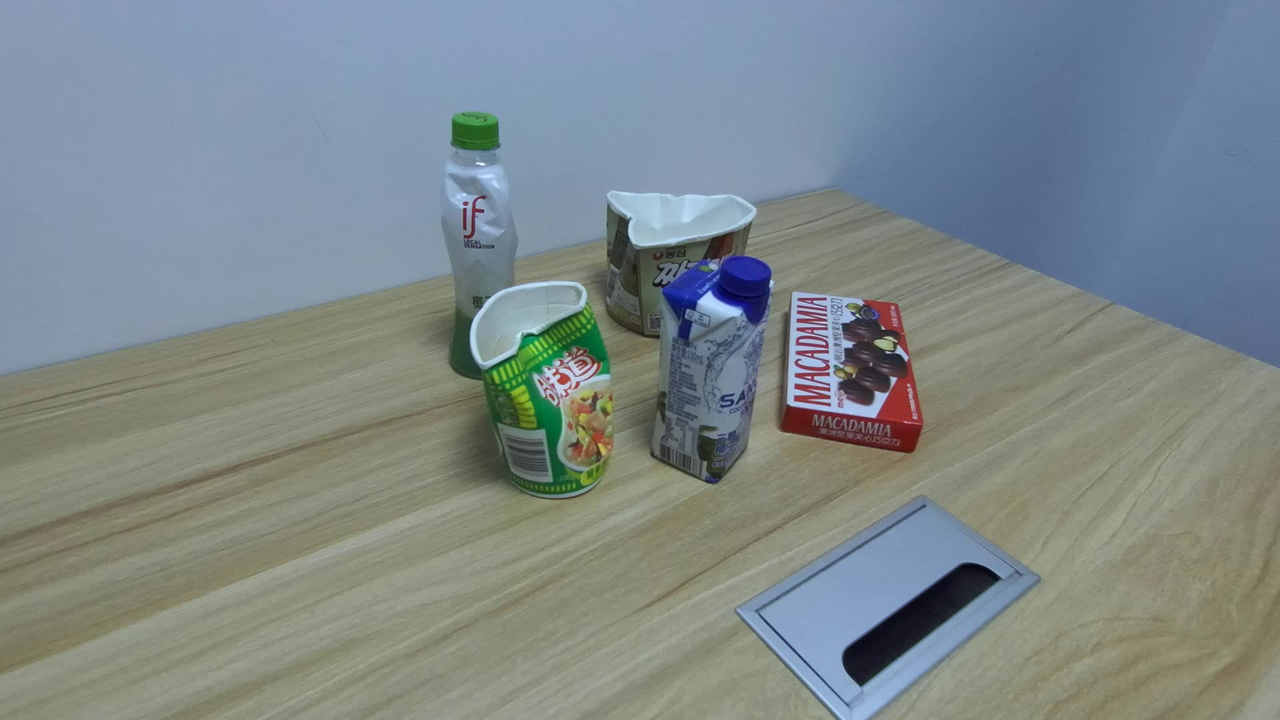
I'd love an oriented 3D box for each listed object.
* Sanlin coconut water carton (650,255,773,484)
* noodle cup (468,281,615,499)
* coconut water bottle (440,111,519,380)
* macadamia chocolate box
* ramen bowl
[{"bbox_3d":[0.044,0.003,0.438,0.060,0.144,0.061,20,37,26],"label":"Sanlin coconut water carton"},{"bbox_3d":[-0.054,0.020,0.435,0.083,0.122,0.075,-23,33,-19],"label":"noodle cup"},{"bbox_3d":[-0.113,-0.078,0.512,0.067,0.187,0.067,3,29,-1],"label":"coconut water bottle"},{"bbox_3d":[0.163,0.002,0.560,0.095,0.027,0.178,9,34,8],"label":"macadamia chocolate box"},{"bbox_3d":[0.038,-0.089,0.619,0.134,0.097,0.113,-10,36,-18],"label":"ramen bowl"}]
